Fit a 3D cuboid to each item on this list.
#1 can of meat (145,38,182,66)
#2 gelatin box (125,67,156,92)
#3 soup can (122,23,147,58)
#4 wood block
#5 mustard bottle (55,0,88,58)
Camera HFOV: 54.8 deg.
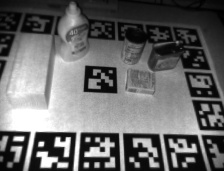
[{"bbox_3d":[0.166,-0.112,0.716,0.102,0.084,0.057,-9,60,-17],"label":"can of meat"},{"bbox_3d":[0.089,-0.024,0.674,0.089,0.030,0.073,11,59,0],"label":"gelatin box"},{"bbox_3d":[0.071,-0.145,0.699,0.068,0.102,0.067,4,59,-5],"label":"soup can"},{"bbox_3d":[-0.219,-0.057,0.611,0.091,0.090,0.205,5,53,-8],"label":"wood block"},{"bbox_3d":[-0.118,-0.165,0.642,0.097,0.192,0.058,-20,62,-21],"label":"mustard bottle"}]
